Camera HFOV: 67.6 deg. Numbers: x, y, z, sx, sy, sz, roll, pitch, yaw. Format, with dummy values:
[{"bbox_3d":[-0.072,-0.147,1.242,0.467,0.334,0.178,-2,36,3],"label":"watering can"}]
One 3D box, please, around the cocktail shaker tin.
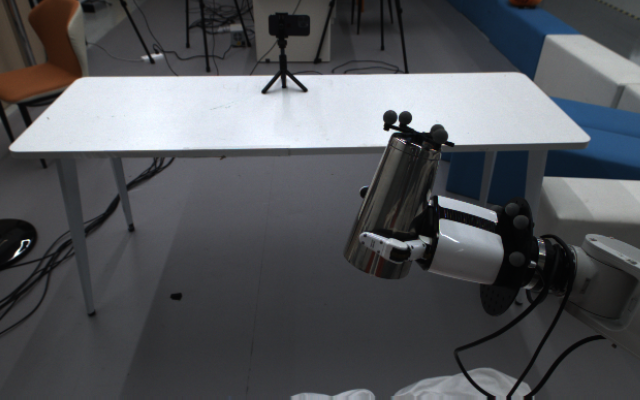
[{"bbox_3d":[0.098,0.005,0.624,0.093,0.170,0.093,14,20,-5],"label":"cocktail shaker tin"}]
